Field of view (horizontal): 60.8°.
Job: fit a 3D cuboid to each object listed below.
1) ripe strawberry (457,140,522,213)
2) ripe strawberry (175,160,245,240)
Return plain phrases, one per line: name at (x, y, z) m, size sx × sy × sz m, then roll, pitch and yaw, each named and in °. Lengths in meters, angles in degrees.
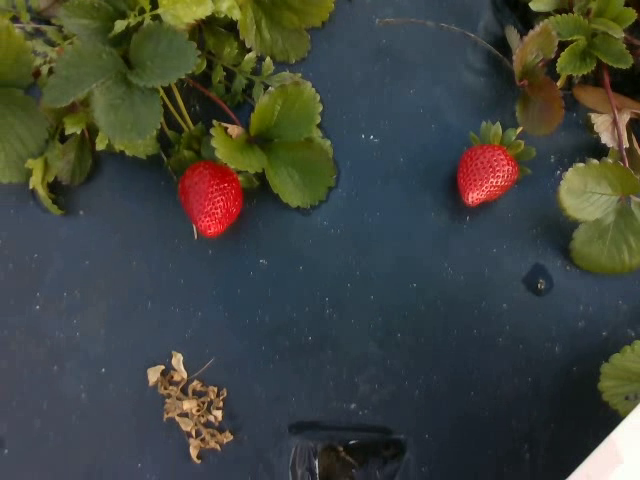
ripe strawberry at (0.091, -0.032, 0.311) m, size 0.041 × 0.052 × 0.045 m, roll -7°, pitch -50°, yaw 52°
ripe strawberry at (-0.066, -0.019, 0.310) m, size 0.050 × 0.050 × 0.046 m, roll 27°, pitch -51°, yaw -16°
